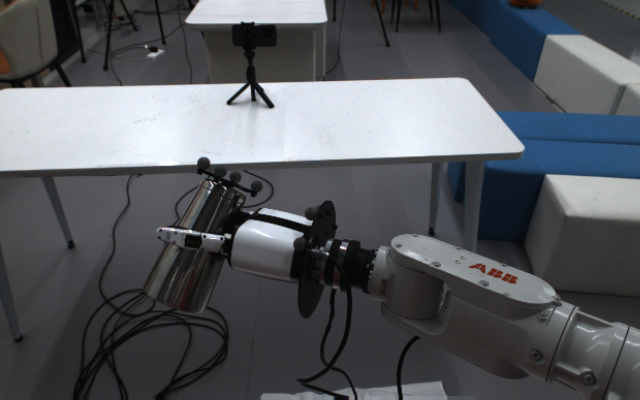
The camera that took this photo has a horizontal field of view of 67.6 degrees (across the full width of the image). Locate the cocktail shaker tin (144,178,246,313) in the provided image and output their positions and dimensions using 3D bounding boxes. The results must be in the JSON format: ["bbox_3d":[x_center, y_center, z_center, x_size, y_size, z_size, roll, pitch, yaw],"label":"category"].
[{"bbox_3d":[-0.166,0.058,0.674,0.093,0.170,0.093,23,0,0],"label":"cocktail shaker tin"}]
